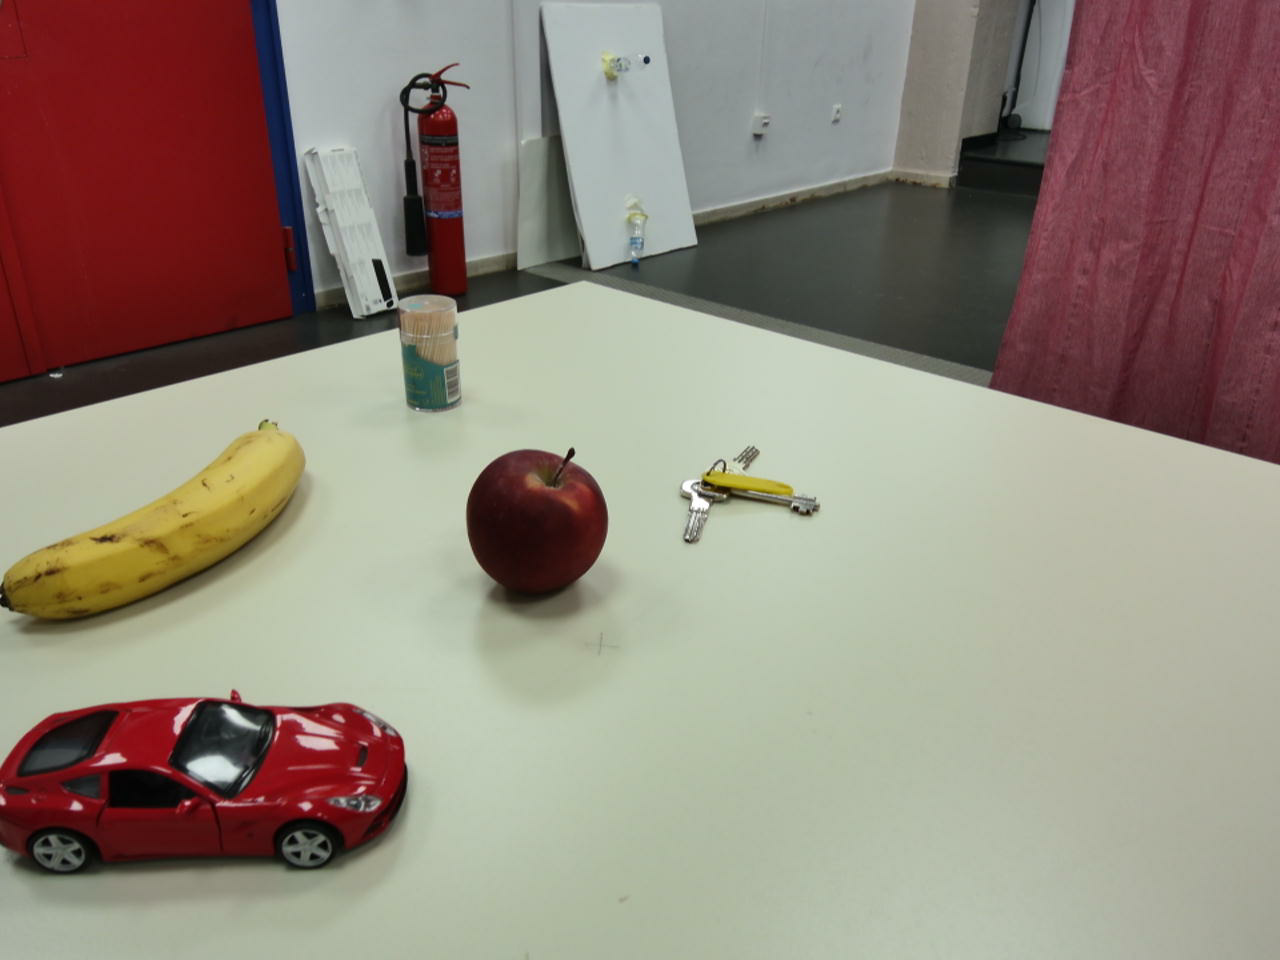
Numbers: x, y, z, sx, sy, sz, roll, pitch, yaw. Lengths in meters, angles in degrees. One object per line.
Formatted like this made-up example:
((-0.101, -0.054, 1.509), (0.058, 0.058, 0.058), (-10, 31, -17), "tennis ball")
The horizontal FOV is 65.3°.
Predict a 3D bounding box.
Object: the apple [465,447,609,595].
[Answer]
((-0.051, 0.020, 0.494), (0.070, 0.072, 0.070), (1, 25, 0), "apple")
